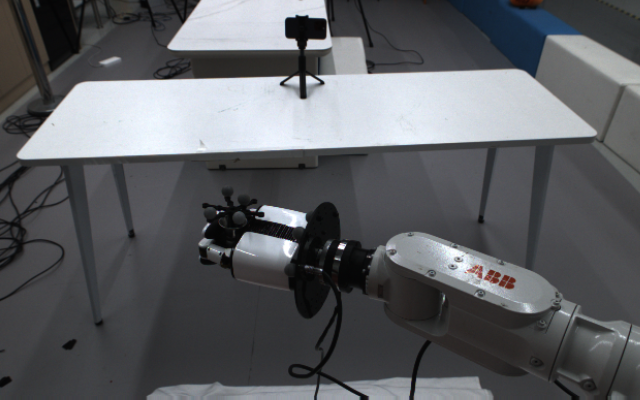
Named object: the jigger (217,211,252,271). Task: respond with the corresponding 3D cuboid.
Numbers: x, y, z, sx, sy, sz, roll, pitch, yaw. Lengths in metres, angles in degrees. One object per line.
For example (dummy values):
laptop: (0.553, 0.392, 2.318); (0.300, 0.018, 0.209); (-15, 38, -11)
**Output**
jigger: (-0.123, 0.060, 0.695); (0.043, 0.071, 0.043); (5, 26, -3)
